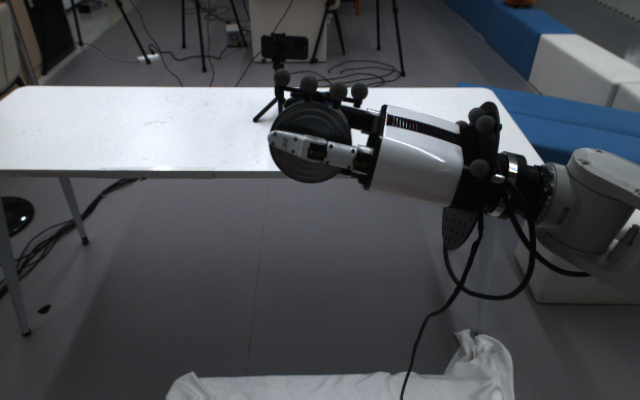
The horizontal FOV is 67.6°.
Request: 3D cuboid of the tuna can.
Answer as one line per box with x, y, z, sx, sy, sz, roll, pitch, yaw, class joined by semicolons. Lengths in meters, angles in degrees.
-0.007;-0.065;0.511;0.085;0.085;0.034;5;18;4;tuna can
